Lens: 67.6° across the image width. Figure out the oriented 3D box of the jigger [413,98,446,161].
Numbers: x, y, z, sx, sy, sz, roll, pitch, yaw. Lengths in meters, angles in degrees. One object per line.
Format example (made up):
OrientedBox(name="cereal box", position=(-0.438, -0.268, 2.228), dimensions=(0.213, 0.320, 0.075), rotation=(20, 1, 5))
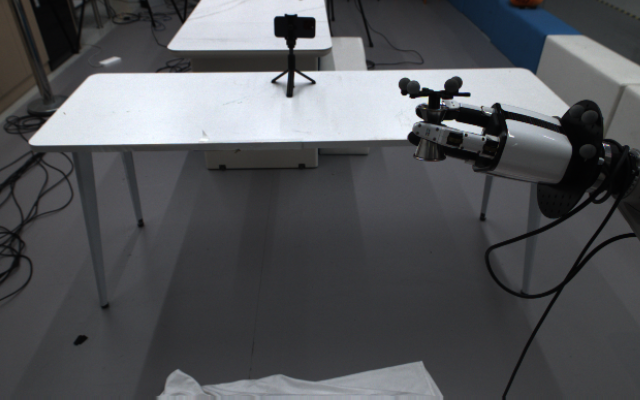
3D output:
OrientedBox(name="jigger", position=(0.147, -0.090, 0.645), dimensions=(0.043, 0.071, 0.043), rotation=(0, 21, 0))
